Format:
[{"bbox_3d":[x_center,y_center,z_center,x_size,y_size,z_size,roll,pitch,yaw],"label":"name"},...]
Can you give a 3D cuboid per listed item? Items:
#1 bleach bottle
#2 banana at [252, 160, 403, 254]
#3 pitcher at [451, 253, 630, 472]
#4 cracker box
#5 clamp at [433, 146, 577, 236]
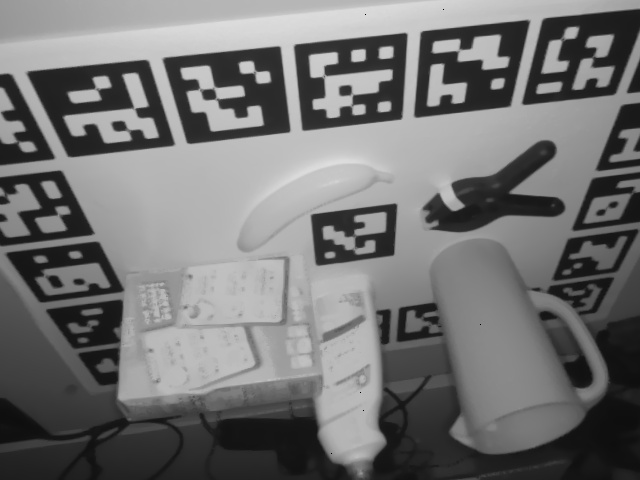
[{"bbox_3d":[0.055,0.167,0.849,0.103,0.252,0.067,-6,140,-4],"label":"bleach bottle"},{"bbox_3d":[-0.008,-0.040,0.772,0.195,0.039,0.075,-30,136,20],"label":"banana"},{"bbox_3d":[0.243,0.134,0.823,0.188,0.244,0.133,-17,139,12],"label":"pitcher"},{"bbox_3d":[-0.104,0.115,0.797,0.215,0.165,0.071,-6,142,-7],"label":"cracker box"},{"bbox_3d":[0.213,-0.044,0.804,0.164,0.037,0.122,-16,140,9],"label":"clamp"}]
